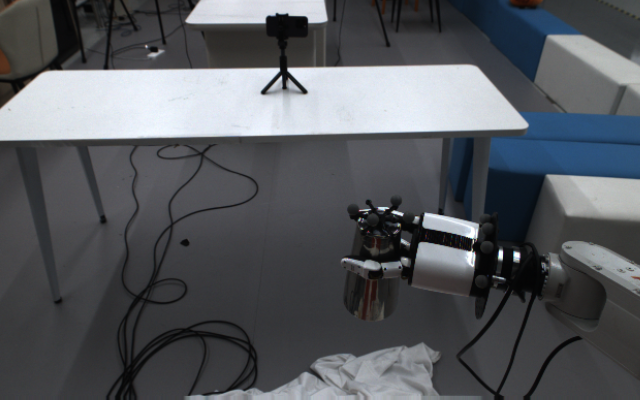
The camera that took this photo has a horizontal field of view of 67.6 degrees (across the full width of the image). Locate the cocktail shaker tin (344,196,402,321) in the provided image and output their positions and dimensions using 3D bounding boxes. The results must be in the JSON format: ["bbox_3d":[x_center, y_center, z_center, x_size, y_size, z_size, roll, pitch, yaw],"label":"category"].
[{"bbox_3d":[0.090,0.096,0.764,0.093,0.170,0.093,1,39,-1],"label":"cocktail shaker tin"}]
